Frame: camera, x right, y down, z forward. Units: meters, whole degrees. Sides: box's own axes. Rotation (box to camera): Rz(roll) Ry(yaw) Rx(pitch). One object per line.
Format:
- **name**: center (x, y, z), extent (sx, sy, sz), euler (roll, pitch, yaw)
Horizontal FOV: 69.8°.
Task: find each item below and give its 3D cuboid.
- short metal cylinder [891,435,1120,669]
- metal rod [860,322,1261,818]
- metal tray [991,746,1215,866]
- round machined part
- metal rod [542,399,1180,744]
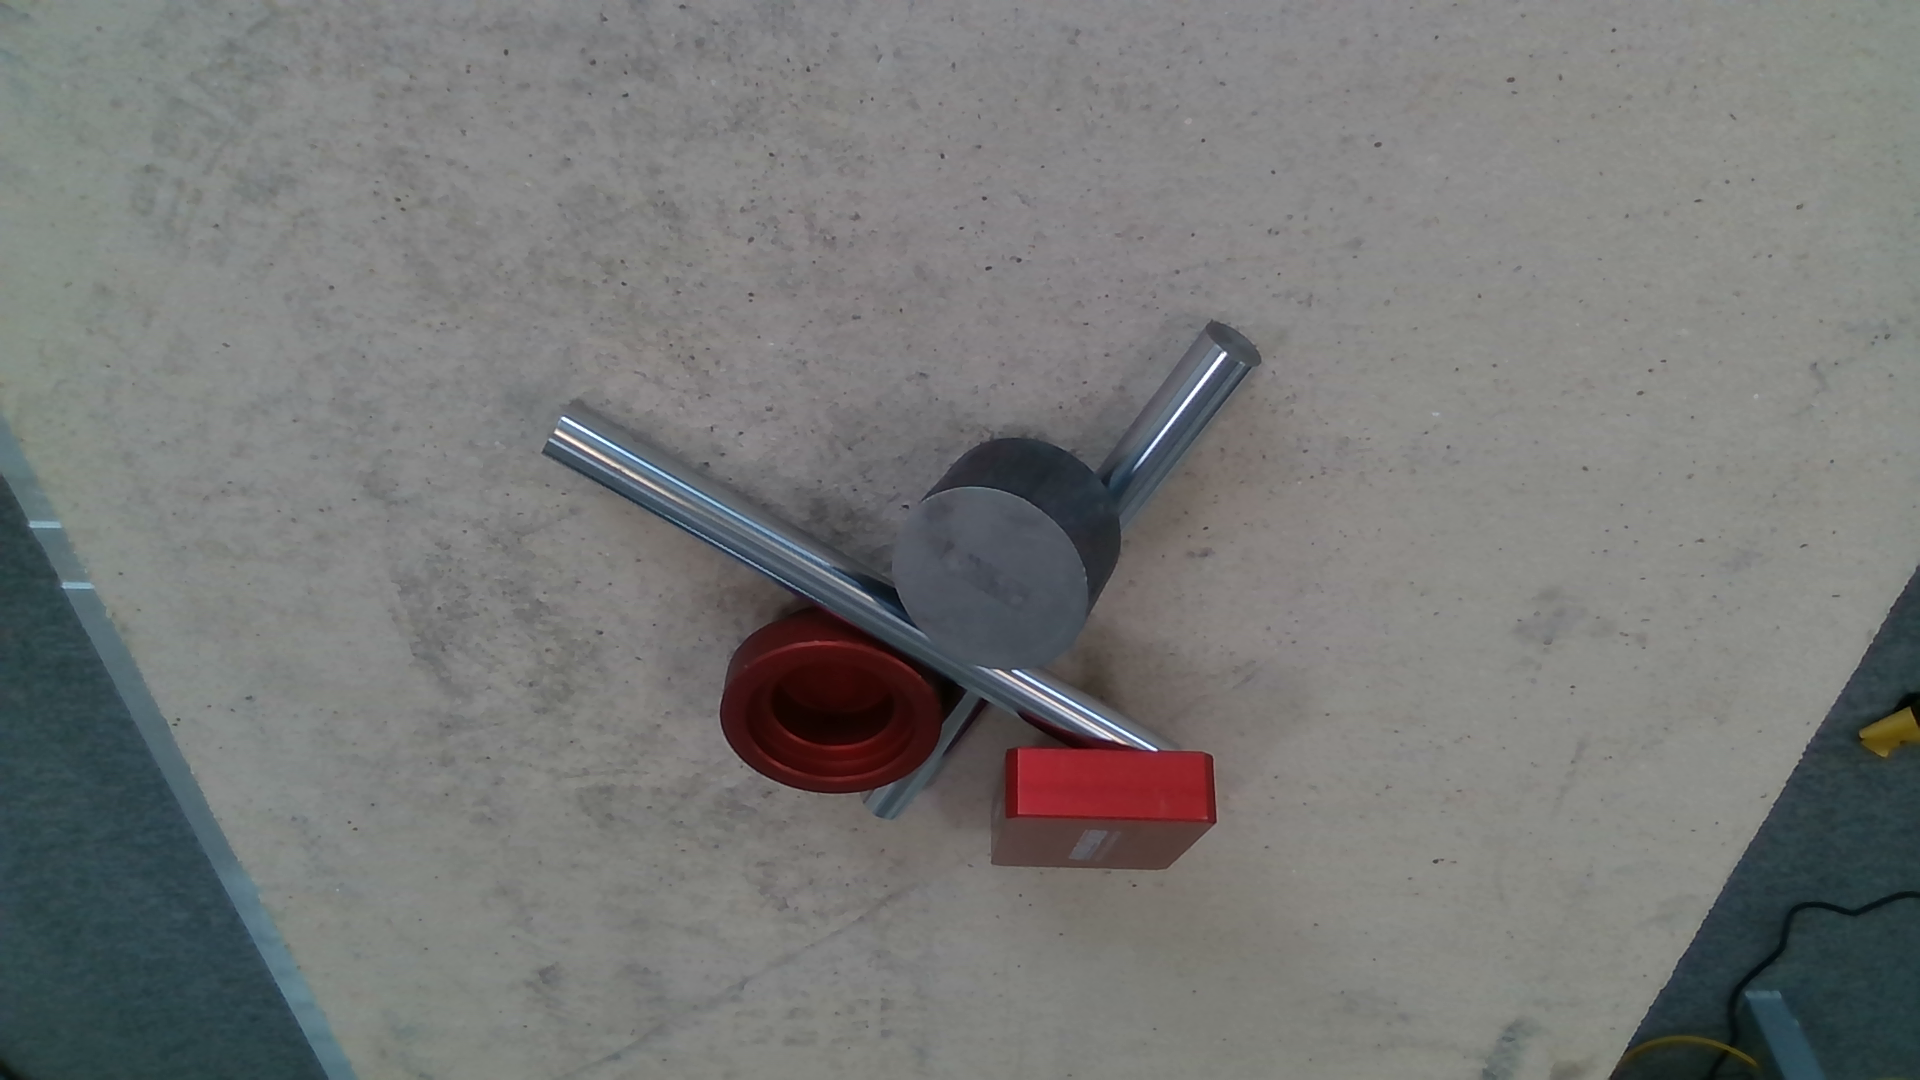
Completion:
- **short metal cylinder**: center (0.019, 0.004, 0.550), extent (0.080, 0.050, 0.080), euler (10, 119, 18)
- **metal rod**: center (0.032, 0.027, 0.603), extent (0.025, 0.025, 0.301), euler (22, 127, -18)
- **metal tray**: center (0.062, 0.128, 0.647), extent (0.090, 0.030, 0.130), euler (2, 158, -1)
- **round machined part**: center (-0.058, 0.067, 0.625), extent (0.098, 0.042, 0.098), euler (0, 130, 0)
- **metal rod**: center (-0.033, 0.028, 0.581), extent (0.300, 0.025, 0.025), euler (30, 124, -15)
